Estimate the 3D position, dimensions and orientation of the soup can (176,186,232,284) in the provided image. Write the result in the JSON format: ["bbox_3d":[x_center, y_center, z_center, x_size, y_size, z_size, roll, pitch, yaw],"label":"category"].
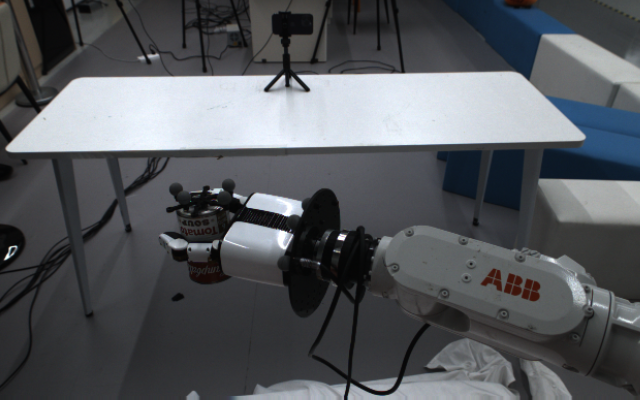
[{"bbox_3d":[-0.147,0.052,0.641,0.067,0.101,0.067,-4,26,2],"label":"soup can"}]
